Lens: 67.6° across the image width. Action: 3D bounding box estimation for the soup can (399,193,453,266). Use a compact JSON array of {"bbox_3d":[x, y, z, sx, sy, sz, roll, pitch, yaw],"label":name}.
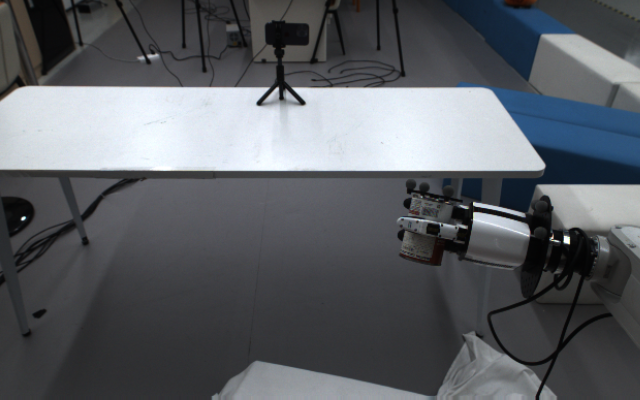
[{"bbox_3d":[0.170,0.047,0.769,0.067,0.101,0.067,12,2,0],"label":"soup can"}]
